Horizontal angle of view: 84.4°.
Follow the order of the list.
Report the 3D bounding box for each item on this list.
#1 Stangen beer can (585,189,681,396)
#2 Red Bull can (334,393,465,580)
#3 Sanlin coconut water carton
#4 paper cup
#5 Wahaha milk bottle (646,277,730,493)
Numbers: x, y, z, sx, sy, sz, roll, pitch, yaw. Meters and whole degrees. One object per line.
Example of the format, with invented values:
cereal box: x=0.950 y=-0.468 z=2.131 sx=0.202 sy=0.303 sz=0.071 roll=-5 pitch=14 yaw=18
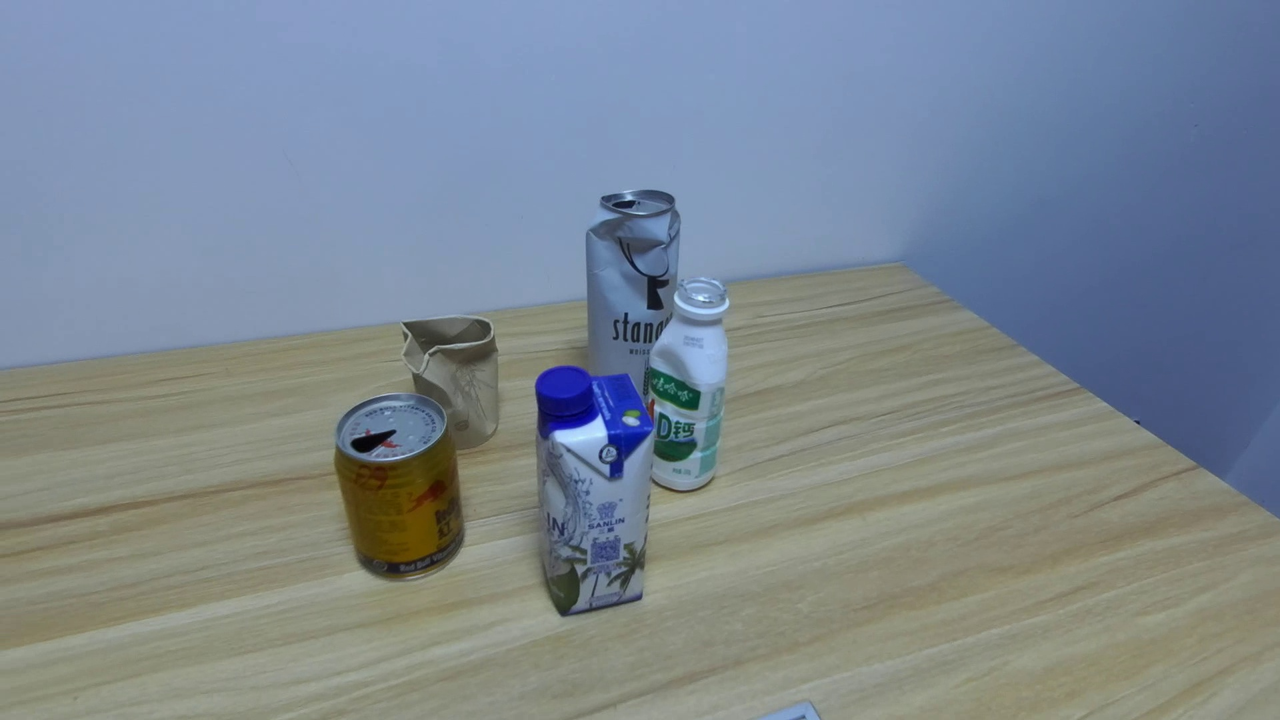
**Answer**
Stangen beer can: x=-0.004 y=-0.041 z=0.537 sx=0.066 sy=0.166 sz=0.066 roll=10 pitch=29 yaw=14
Red Bull can: x=-0.139 y=0.074 z=0.415 sx=0.067 sy=0.093 sz=0.067 roll=3 pitch=33 yaw=-2
Sanlin coconut water carton: x=-0.025 y=0.069 z=0.389 sx=0.061 sy=0.144 sz=0.060 roll=-6 pitch=34 yaw=-16
paper cup: x=-0.133 y=0.019 z=0.510 sx=0.066 sy=0.083 sz=0.058 roll=-6 pitch=37 yaw=-10
Wahaha milk bottle: x=0.035 y=0.017 z=0.466 sx=0.055 sy=0.149 sz=0.055 roll=4 pitch=33 yaw=-2
